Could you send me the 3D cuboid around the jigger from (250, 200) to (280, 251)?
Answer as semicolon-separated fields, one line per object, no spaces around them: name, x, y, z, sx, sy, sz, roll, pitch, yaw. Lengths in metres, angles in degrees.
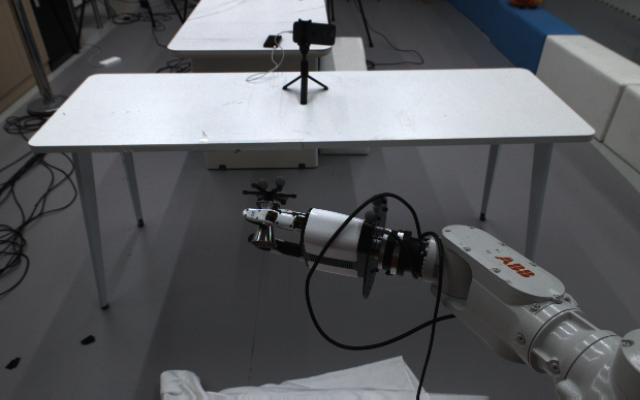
jigger;-0.089;0.037;0.777;0.043;0.043;0.071;4;71;3
